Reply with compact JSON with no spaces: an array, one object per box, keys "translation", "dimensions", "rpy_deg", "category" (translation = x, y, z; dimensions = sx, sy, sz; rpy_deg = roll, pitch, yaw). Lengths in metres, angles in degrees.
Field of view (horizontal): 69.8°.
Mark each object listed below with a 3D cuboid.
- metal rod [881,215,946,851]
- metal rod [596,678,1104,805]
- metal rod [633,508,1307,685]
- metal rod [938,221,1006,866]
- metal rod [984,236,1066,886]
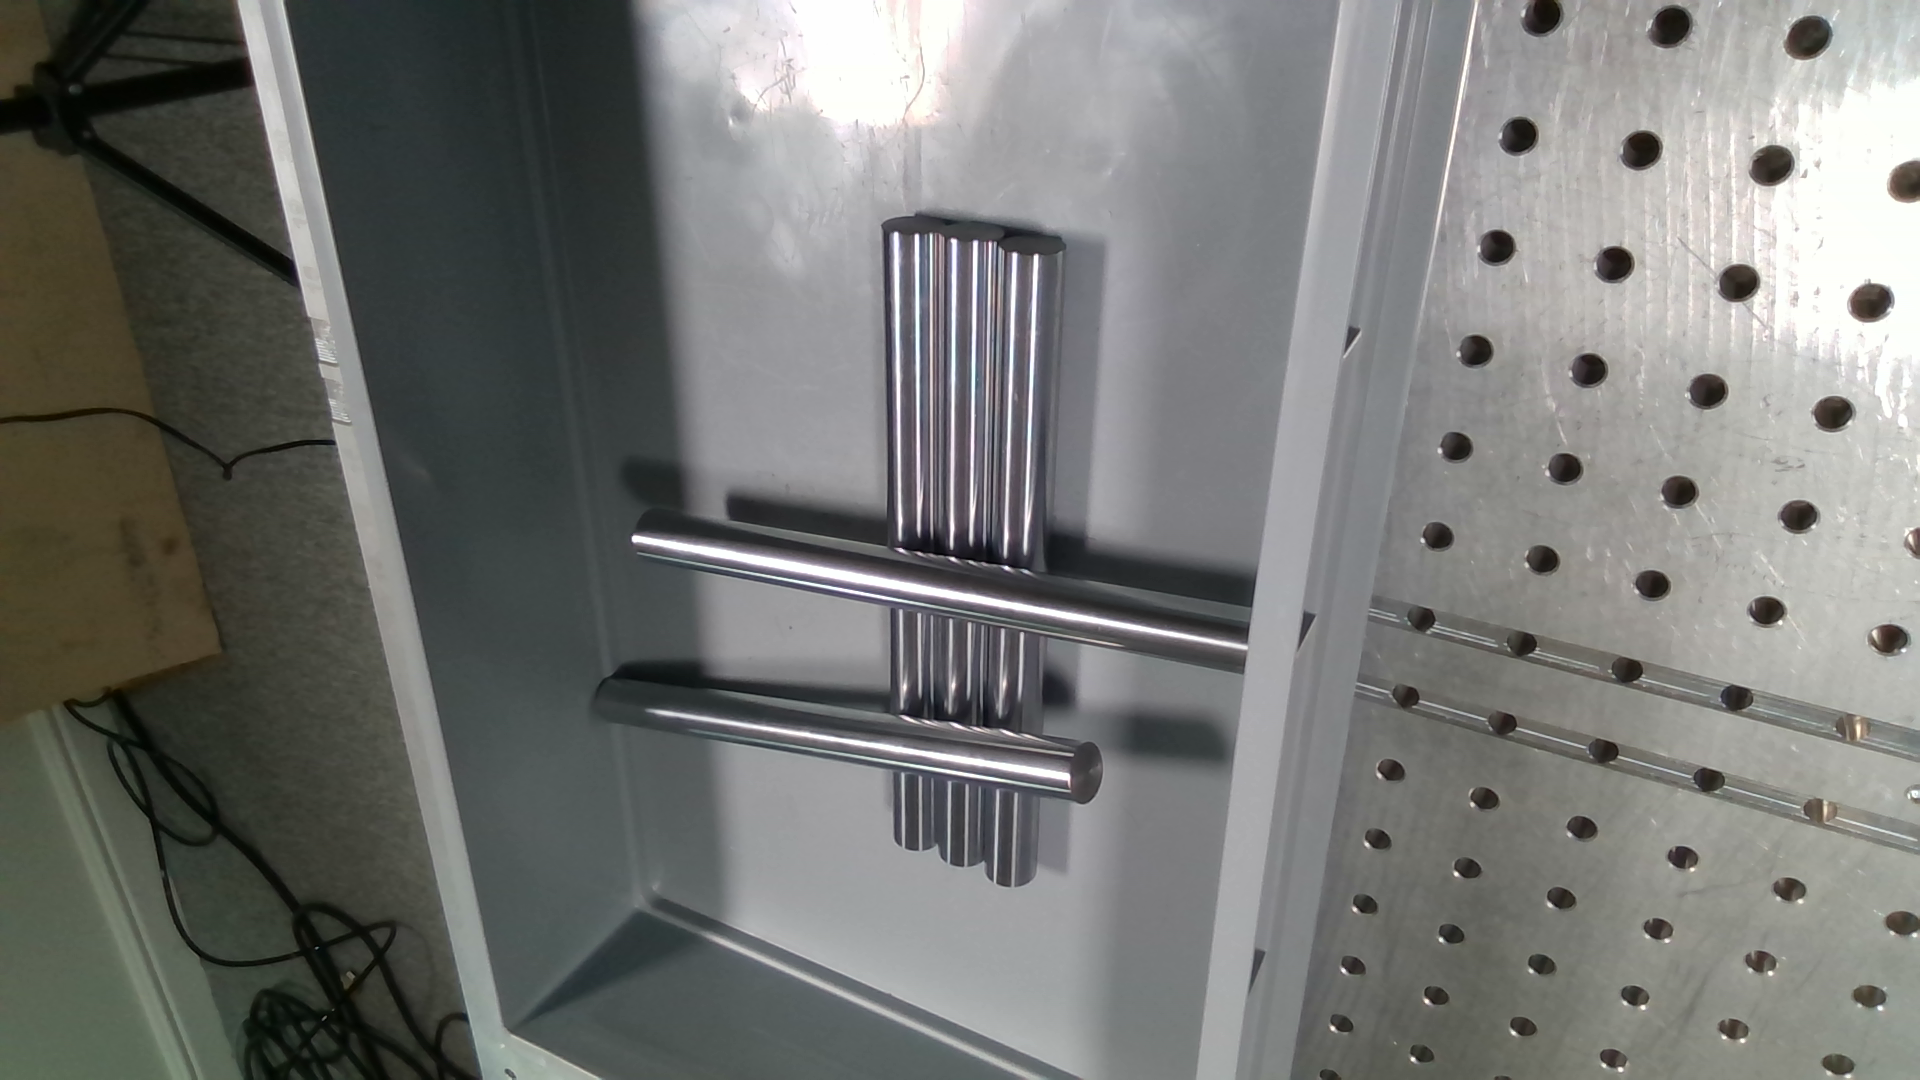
[{"translation":[-0.019,0.011,0.597],"dimensions":[0.025,0.025,0.301],"rpy_deg":[15,122,24],"category":"metal rod"},{"translation":[-0.067,0.090,0.643],"dimensions":[0.300,0.025,0.025],"rpy_deg":[2,116,38],"category":"metal rod"},{"translation":[-0.010,0.018,0.562],"dimensions":[0.300,0.025,0.025],"rpy_deg":[9,120,27],"category":"metal rod"},{"translation":[0.003,0.016,0.586],"dimensions":[0.025,0.025,0.301],"rpy_deg":[15,122,24],"category":"metal rod"},{"translation":[0.025,0.023,0.576],"dimensions":[0.025,0.025,0.301],"rpy_deg":[15,122,24],"category":"metal rod"}]
